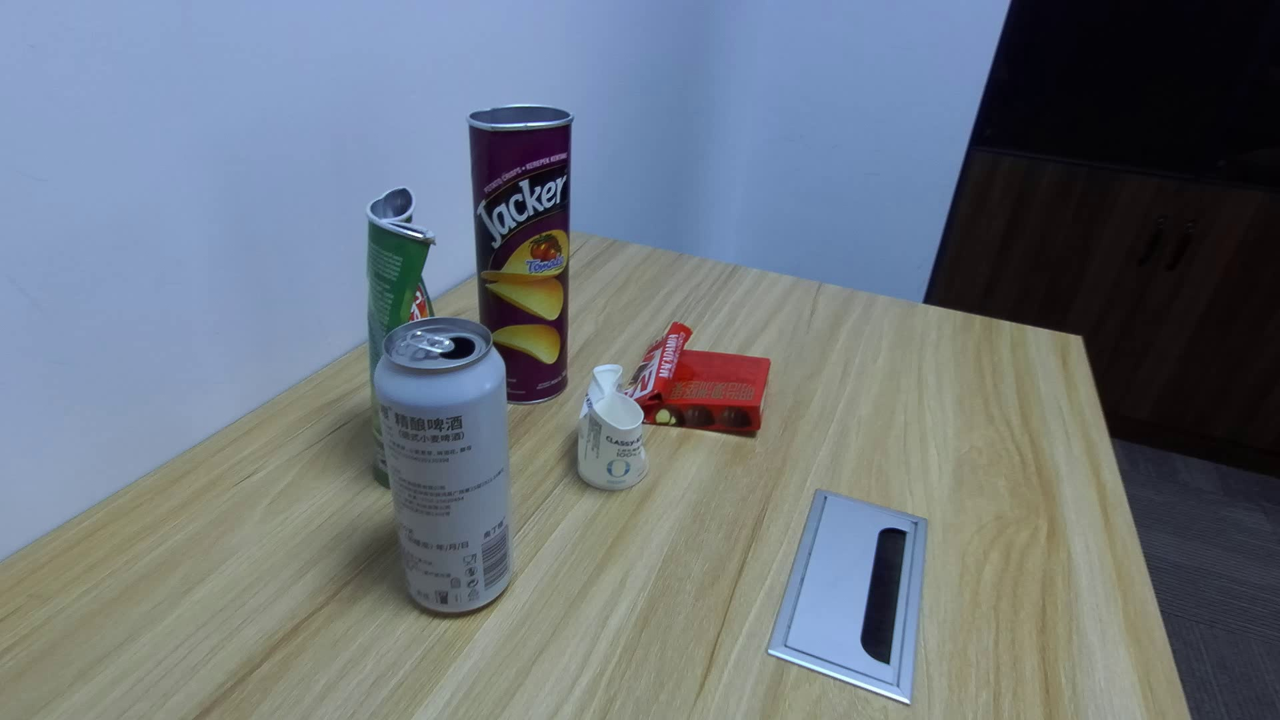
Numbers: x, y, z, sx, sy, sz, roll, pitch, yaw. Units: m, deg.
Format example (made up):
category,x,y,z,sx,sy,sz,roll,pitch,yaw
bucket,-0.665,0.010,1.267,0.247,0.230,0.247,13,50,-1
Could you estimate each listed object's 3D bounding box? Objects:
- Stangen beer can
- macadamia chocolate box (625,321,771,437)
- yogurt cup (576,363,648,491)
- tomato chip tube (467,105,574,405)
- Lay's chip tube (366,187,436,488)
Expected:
category,x,y,z,sx,sy,sz,roll,pitch,yaw
Stangen beer can,-0.108,0.063,0.401,0.067,0.171,0.067,3,29,-1
macadamia chocolate box,0.049,0.023,0.623,0.126,0.056,0.112,13,46,11
yogurt cup,-0.018,0.053,0.524,0.054,0.071,0.075,-19,38,-35
tomato chip tube,-0.095,-0.082,0.586,0.080,0.234,0.076,-3,30,-11
Lay's chip tube,-0.157,-0.009,0.485,0.077,0.201,0.069,27,38,28
